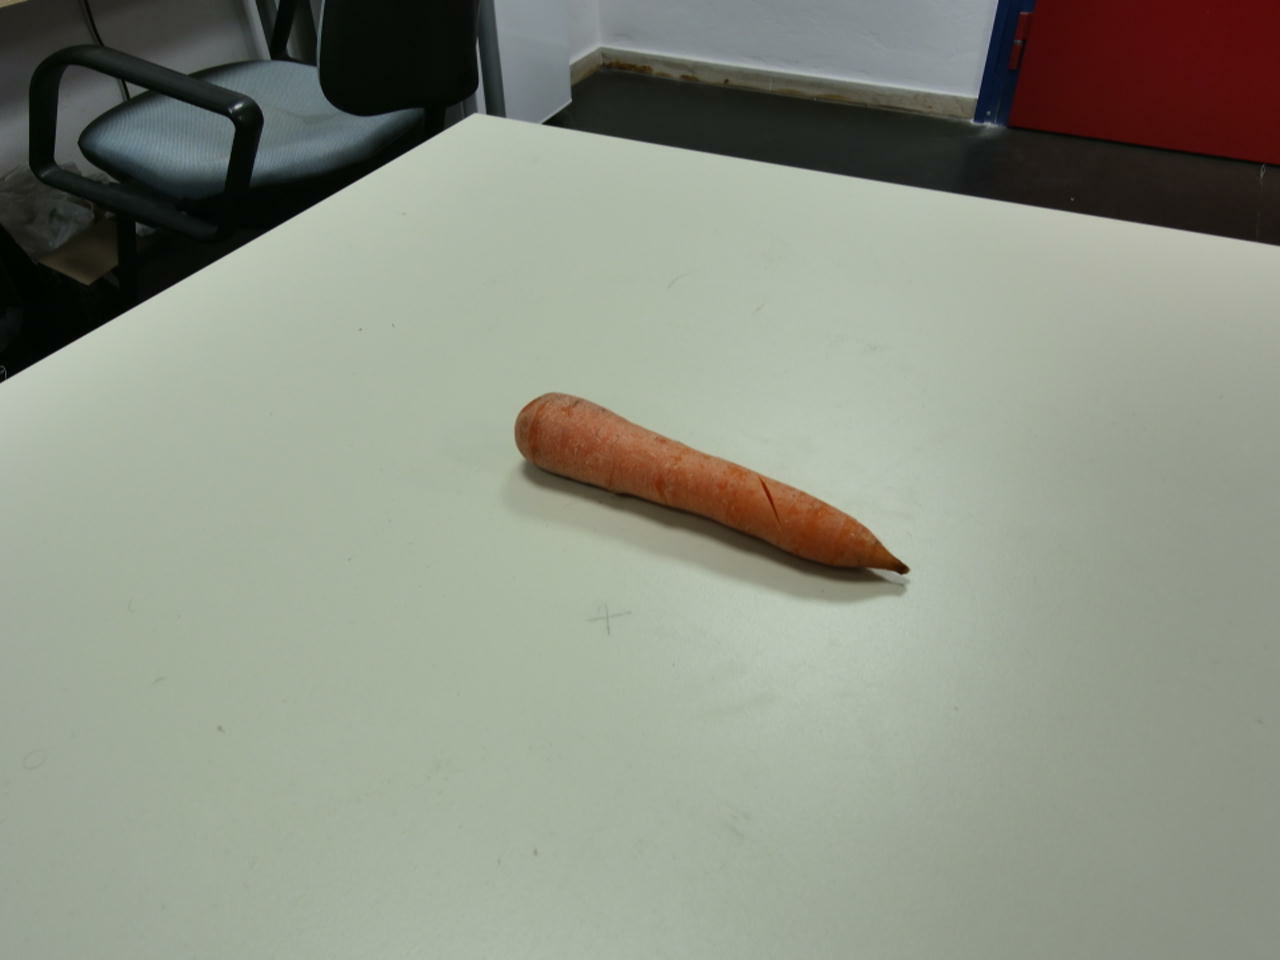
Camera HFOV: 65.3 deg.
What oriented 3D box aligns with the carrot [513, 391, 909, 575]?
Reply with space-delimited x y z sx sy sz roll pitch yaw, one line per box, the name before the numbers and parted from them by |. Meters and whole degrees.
carrot | 0.028 0.000 0.458 0.196 0.041 0.039 18 40 21
